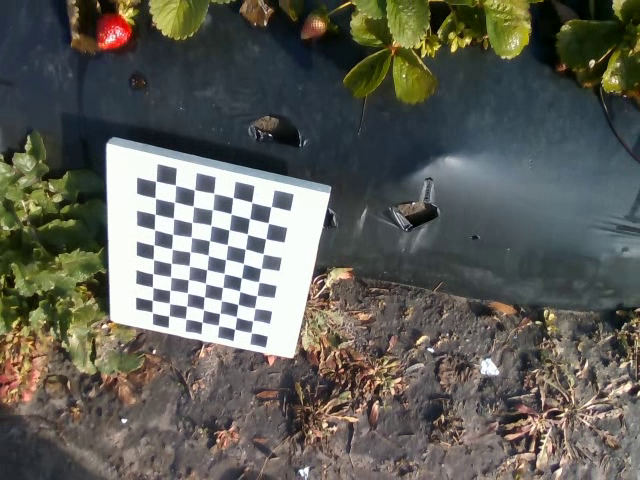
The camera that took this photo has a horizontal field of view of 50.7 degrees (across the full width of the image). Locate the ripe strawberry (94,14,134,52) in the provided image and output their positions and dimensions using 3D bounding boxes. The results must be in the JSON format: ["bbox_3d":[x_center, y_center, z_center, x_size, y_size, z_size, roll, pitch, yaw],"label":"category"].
[{"bbox_3d":[-0.216,-0.202,0.680,0.046,0.054,0.037,30,-15,-12],"label":"ripe strawberry"}]
